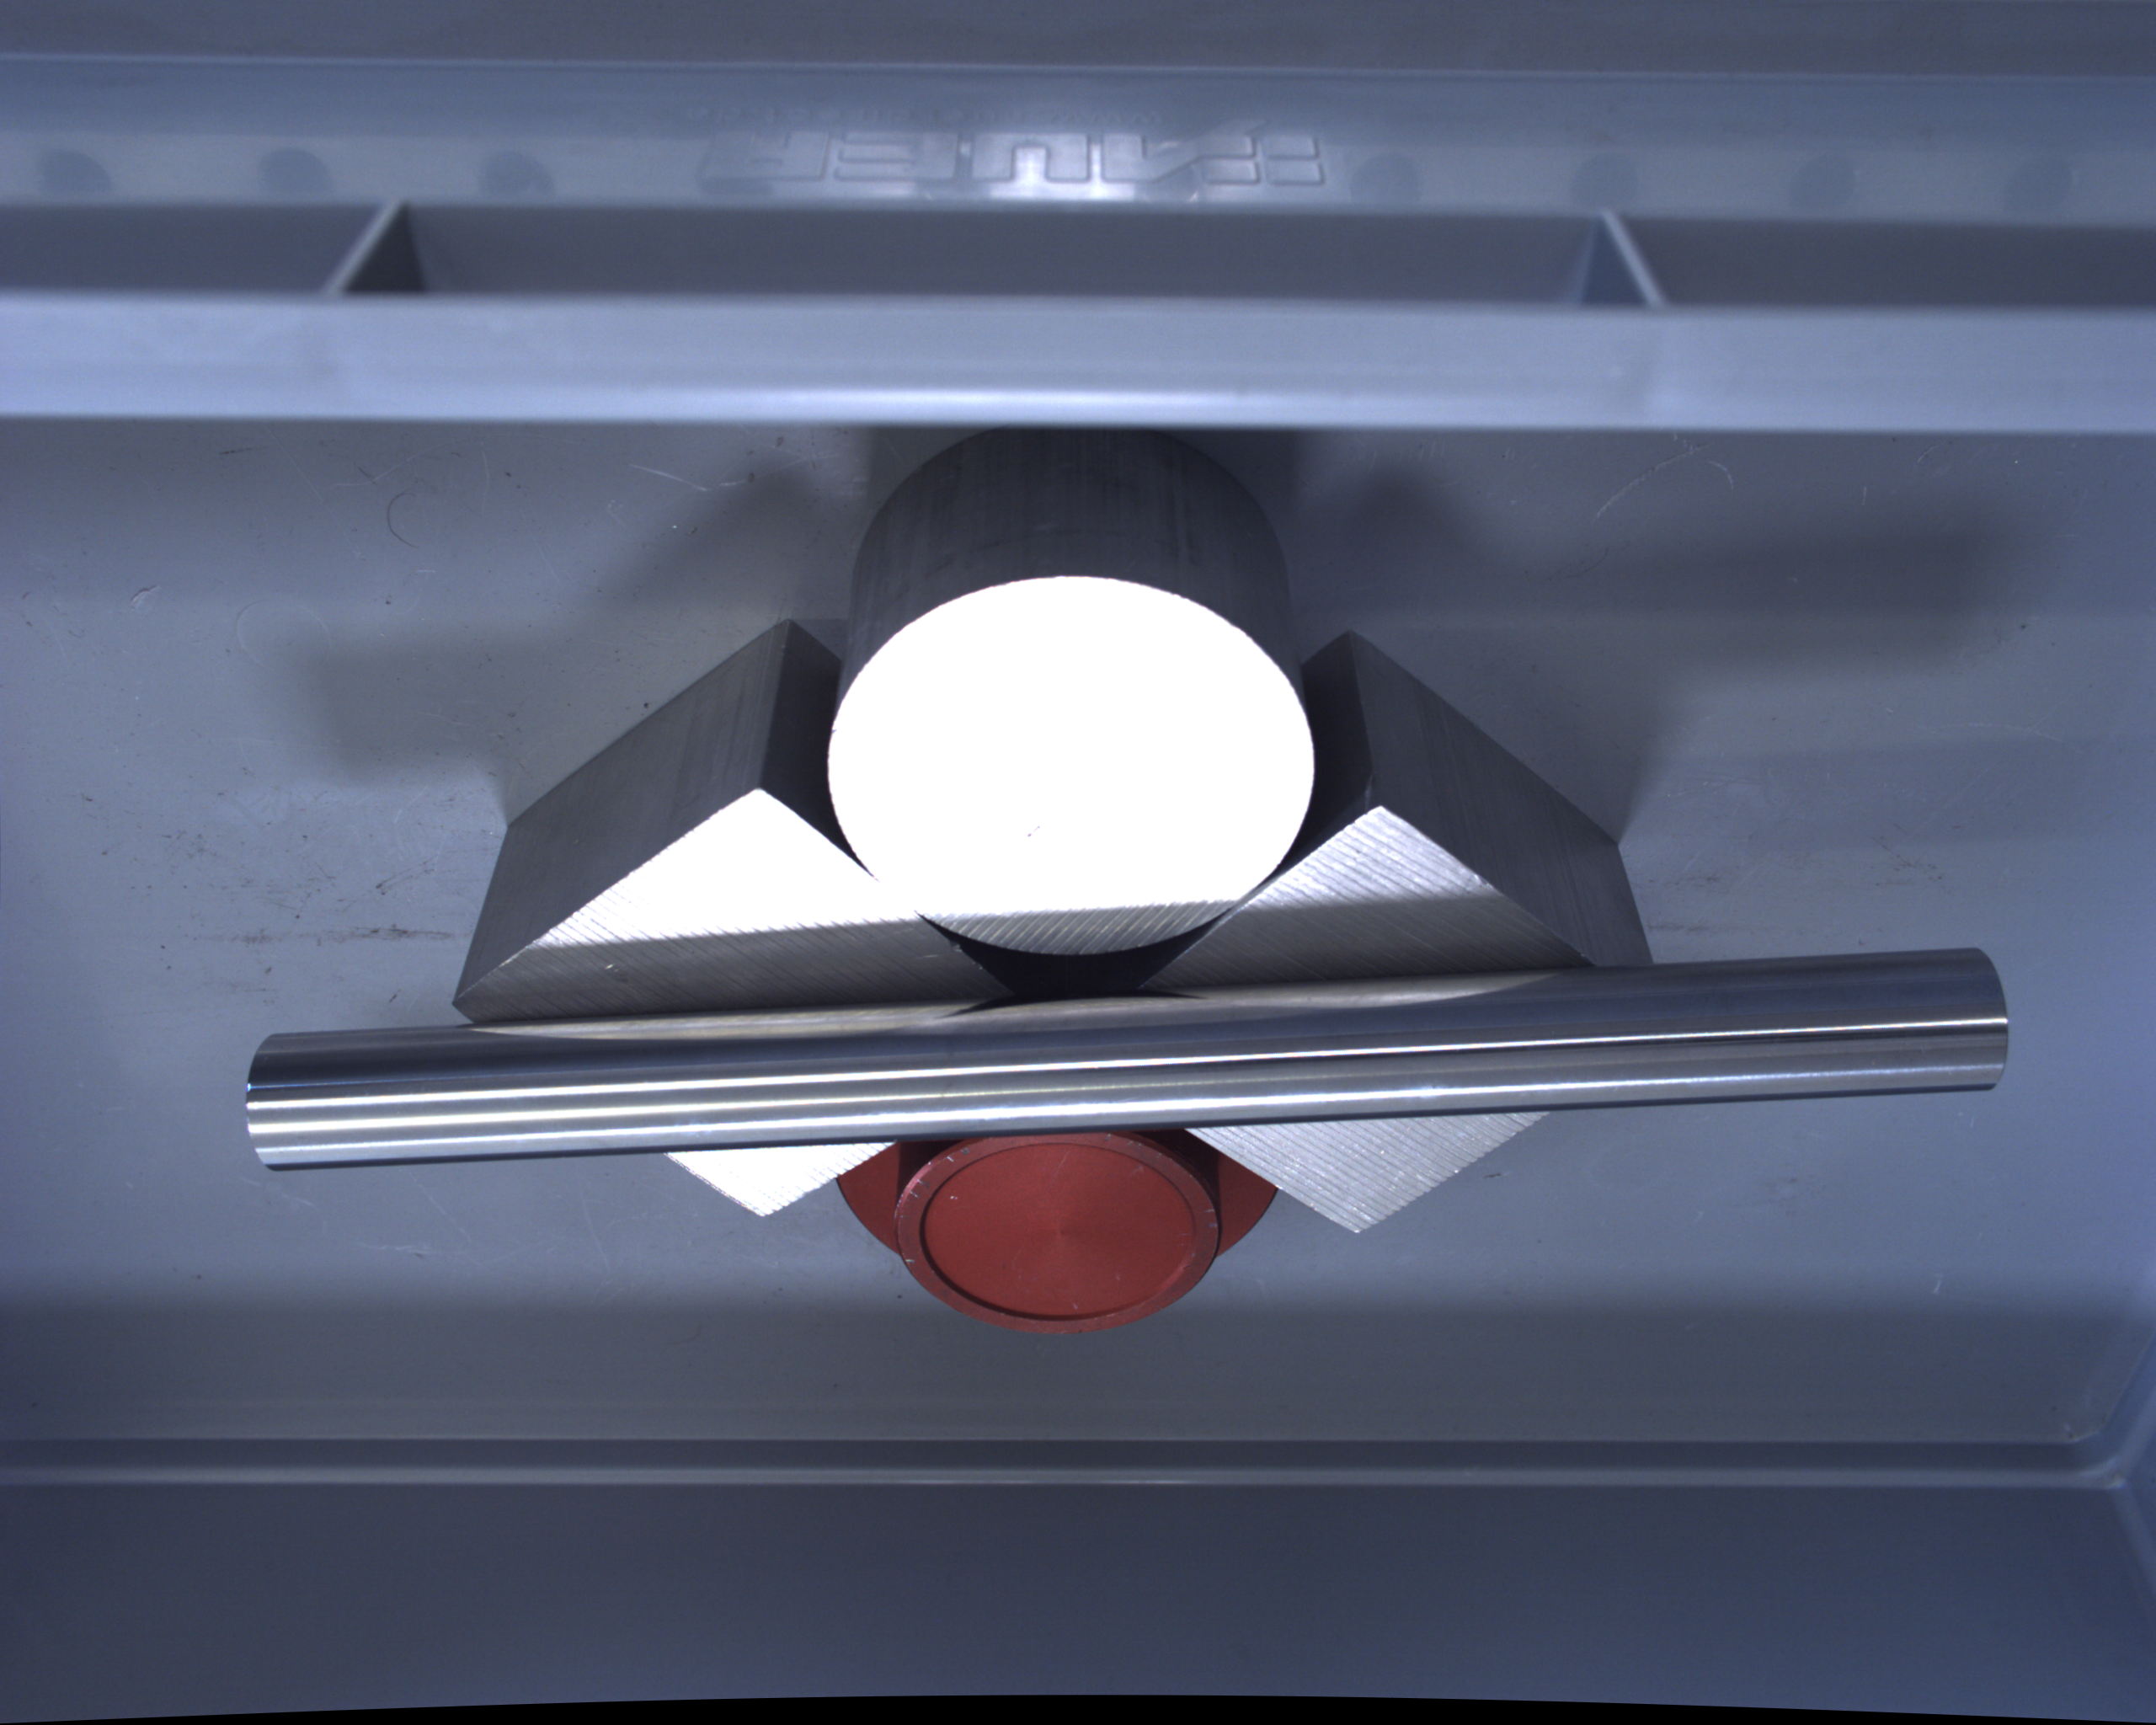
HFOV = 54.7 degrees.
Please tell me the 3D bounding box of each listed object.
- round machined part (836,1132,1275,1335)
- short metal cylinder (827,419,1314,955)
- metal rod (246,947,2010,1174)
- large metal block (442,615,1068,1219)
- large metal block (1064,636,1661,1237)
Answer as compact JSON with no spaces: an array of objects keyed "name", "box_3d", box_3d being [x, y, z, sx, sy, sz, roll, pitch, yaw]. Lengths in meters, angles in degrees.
[{"name":"round machined part","box_3d":[-0.004,0.065,0.450,0.099,0.042,0.097,0,130,0]},{"name":"short metal cylinder","box_3d":[-0.001,-0.030,0.365,0.081,0.050,0.079,0,130,0]},{"name":"metal rod","box_3d":[0.006,0.035,0.369,0.302,0.025,0.025,-3,130,3]},{"name":"large metal block","box_3d":[-0.059,0.013,0.401,0.080,0.050,0.080,-32,125,24]},{"name":"large metal block","box_3d":[0.054,0.017,0.402,0.080,0.050,0.080,35,123,-26]}]
